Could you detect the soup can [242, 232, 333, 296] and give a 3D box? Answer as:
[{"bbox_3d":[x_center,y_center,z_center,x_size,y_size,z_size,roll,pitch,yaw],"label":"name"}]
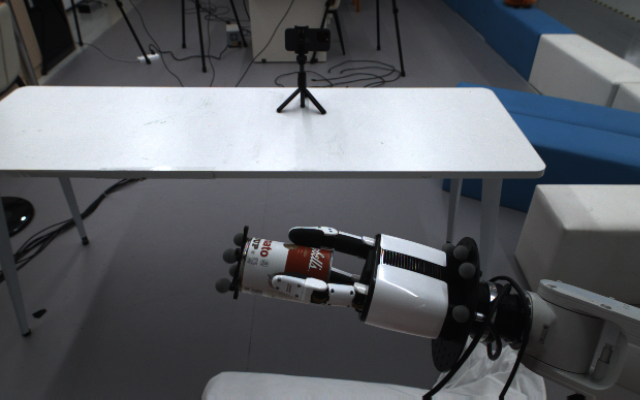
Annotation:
[{"bbox_3d":[-0.036,0.085,0.574,0.101,0.067,0.067,10,35,0],"label":"soup can"}]
